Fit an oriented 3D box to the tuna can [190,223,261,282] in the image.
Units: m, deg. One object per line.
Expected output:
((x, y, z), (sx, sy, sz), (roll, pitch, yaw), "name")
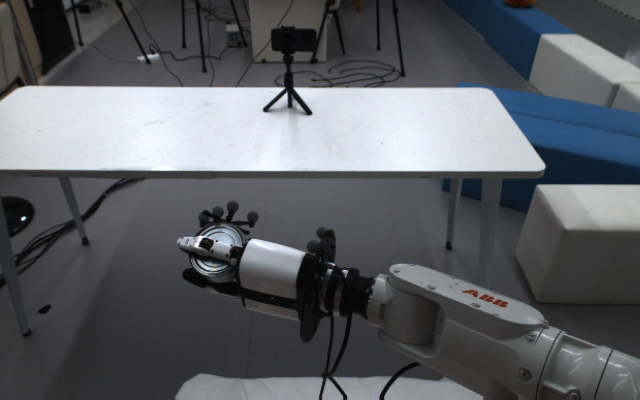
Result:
((-0.145, 0.078, 0.710), (0.085, 0.034, 0.085), (-6, 60, 10), "tuna can")
